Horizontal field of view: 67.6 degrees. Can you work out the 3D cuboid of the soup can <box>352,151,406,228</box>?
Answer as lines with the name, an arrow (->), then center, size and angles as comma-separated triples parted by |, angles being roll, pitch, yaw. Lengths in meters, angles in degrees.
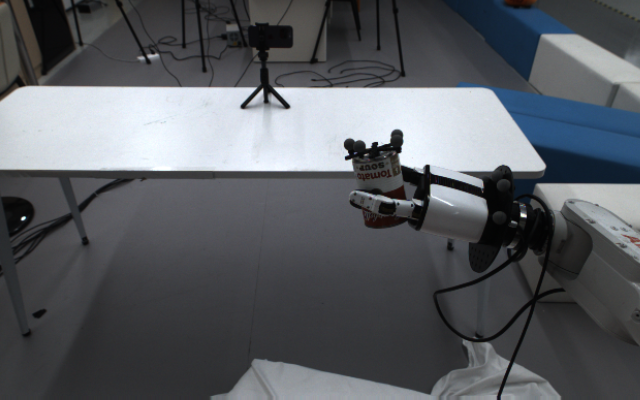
soup can -> 0.088, -0.019, 0.695 | 0.067, 0.101, 0.067 | -12, 17, 4
